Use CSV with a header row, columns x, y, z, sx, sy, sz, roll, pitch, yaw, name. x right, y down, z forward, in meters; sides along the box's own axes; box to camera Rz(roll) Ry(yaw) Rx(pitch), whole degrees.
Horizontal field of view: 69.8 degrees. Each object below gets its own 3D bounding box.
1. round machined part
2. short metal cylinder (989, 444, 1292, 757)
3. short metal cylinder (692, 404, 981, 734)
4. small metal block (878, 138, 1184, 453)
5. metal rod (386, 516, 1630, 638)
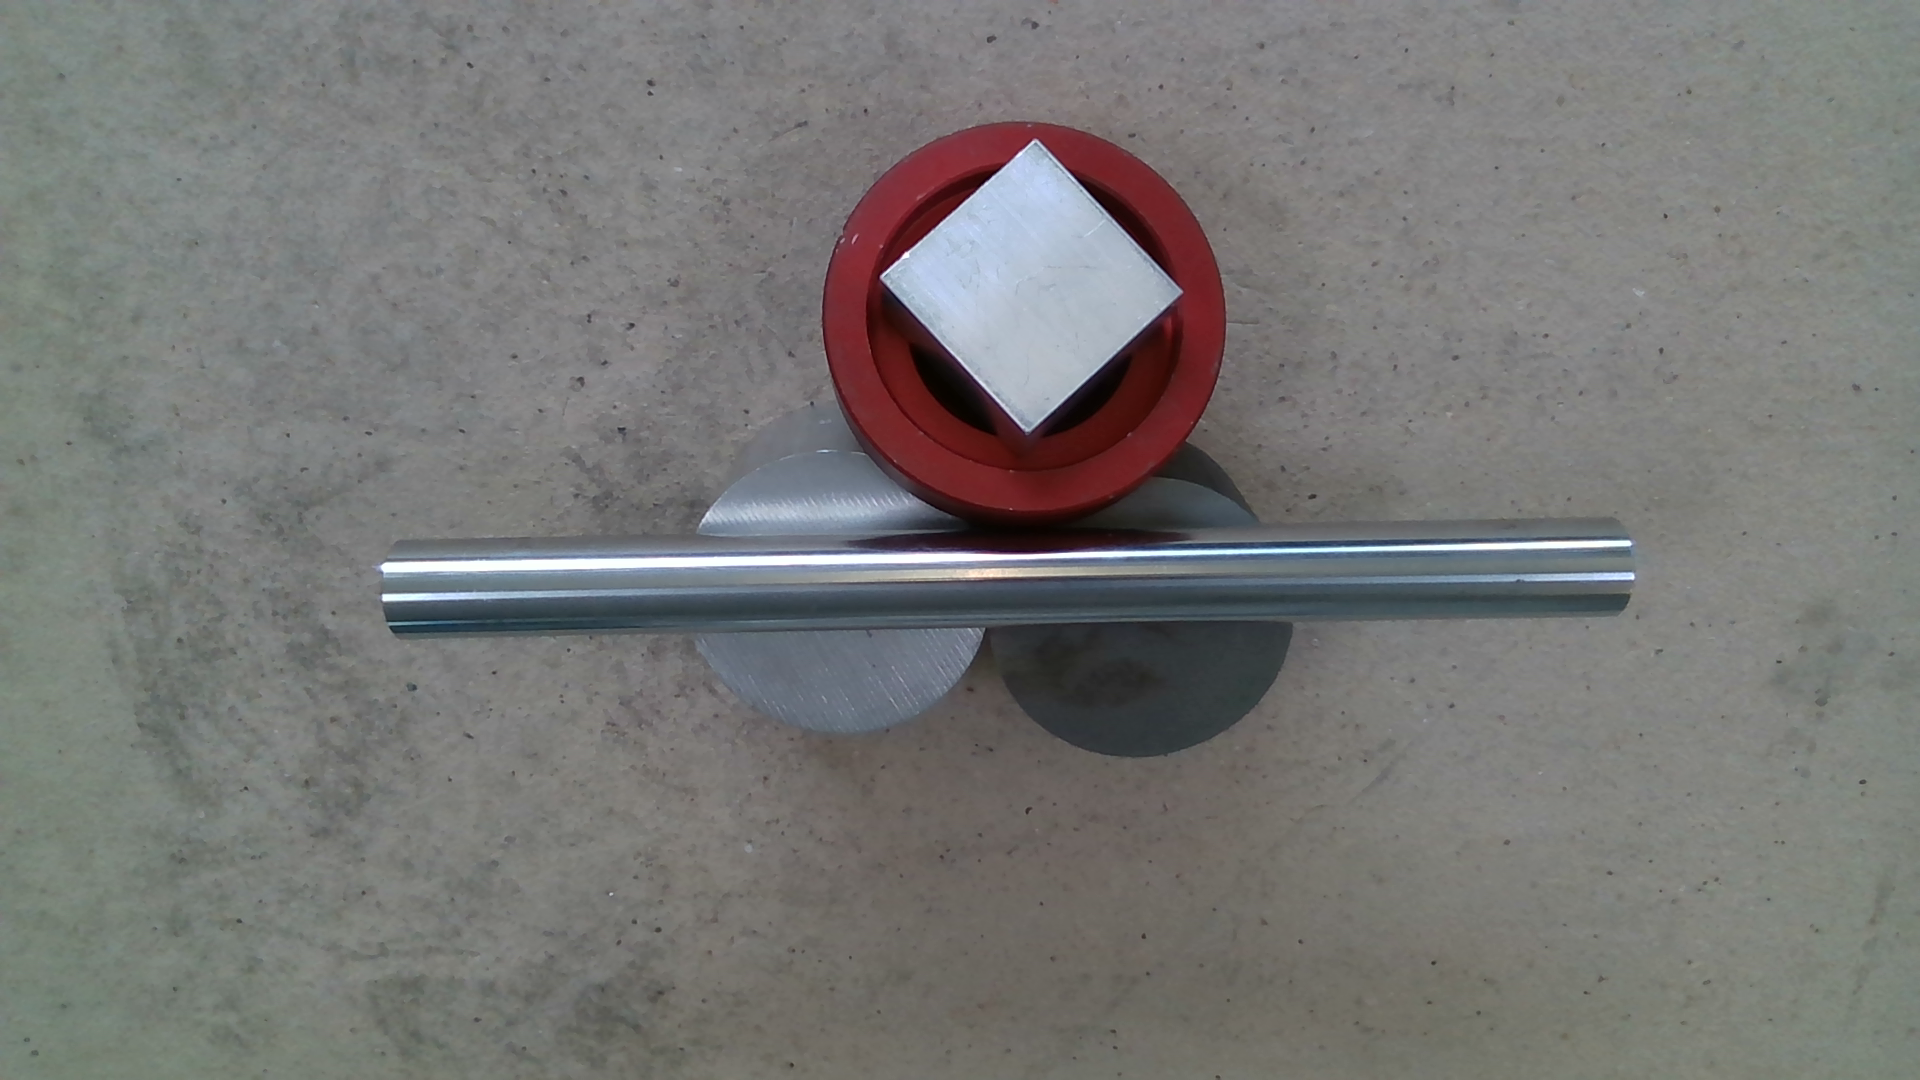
x,y,z,sx,sy,sz,roll,pitch,yaw,name
0.015,-0.052,0.352,0.098,0.042,0.098,0,81,-2,round machined part
0.048,0.013,0.385,0.080,0.050,0.080,0,110,0,short metal cylinder
-0.033,0.006,0.382,0.080,0.050,0.080,0,110,-1,short metal cylinder
0.016,-0.057,0.329,0.050,0.025,0.050,-42,86,-8,small metal block
0.011,0.009,0.344,0.300,0.025,0.025,-1,110,0,metal rod
